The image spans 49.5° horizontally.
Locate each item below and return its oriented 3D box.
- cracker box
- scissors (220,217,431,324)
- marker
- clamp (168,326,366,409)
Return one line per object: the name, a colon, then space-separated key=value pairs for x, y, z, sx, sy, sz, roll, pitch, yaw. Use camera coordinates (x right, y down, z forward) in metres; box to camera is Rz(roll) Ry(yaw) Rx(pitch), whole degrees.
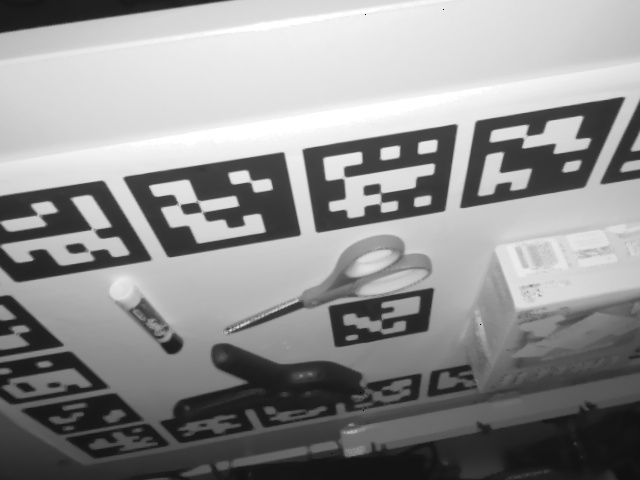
cracker box: x=0.237 y=0.068 z=0.654 sx=0.165 sy=0.072 sz=0.212 roll=-8 pitch=145 yaw=-3
scissors: x=-0.003 y=0.037 z=0.590 sx=0.200 sy=0.016 sz=0.088 roll=-24 pitch=145 yaw=23
marker: x=-0.144 y=0.057 z=0.578 sx=0.019 sy=0.020 sz=0.120 roll=-11 pitch=146 yaw=1
clamp: x=-0.040 y=0.146 z=0.743 sx=0.205 sy=0.037 sz=0.162 roll=10 pitch=142 yaw=-26
